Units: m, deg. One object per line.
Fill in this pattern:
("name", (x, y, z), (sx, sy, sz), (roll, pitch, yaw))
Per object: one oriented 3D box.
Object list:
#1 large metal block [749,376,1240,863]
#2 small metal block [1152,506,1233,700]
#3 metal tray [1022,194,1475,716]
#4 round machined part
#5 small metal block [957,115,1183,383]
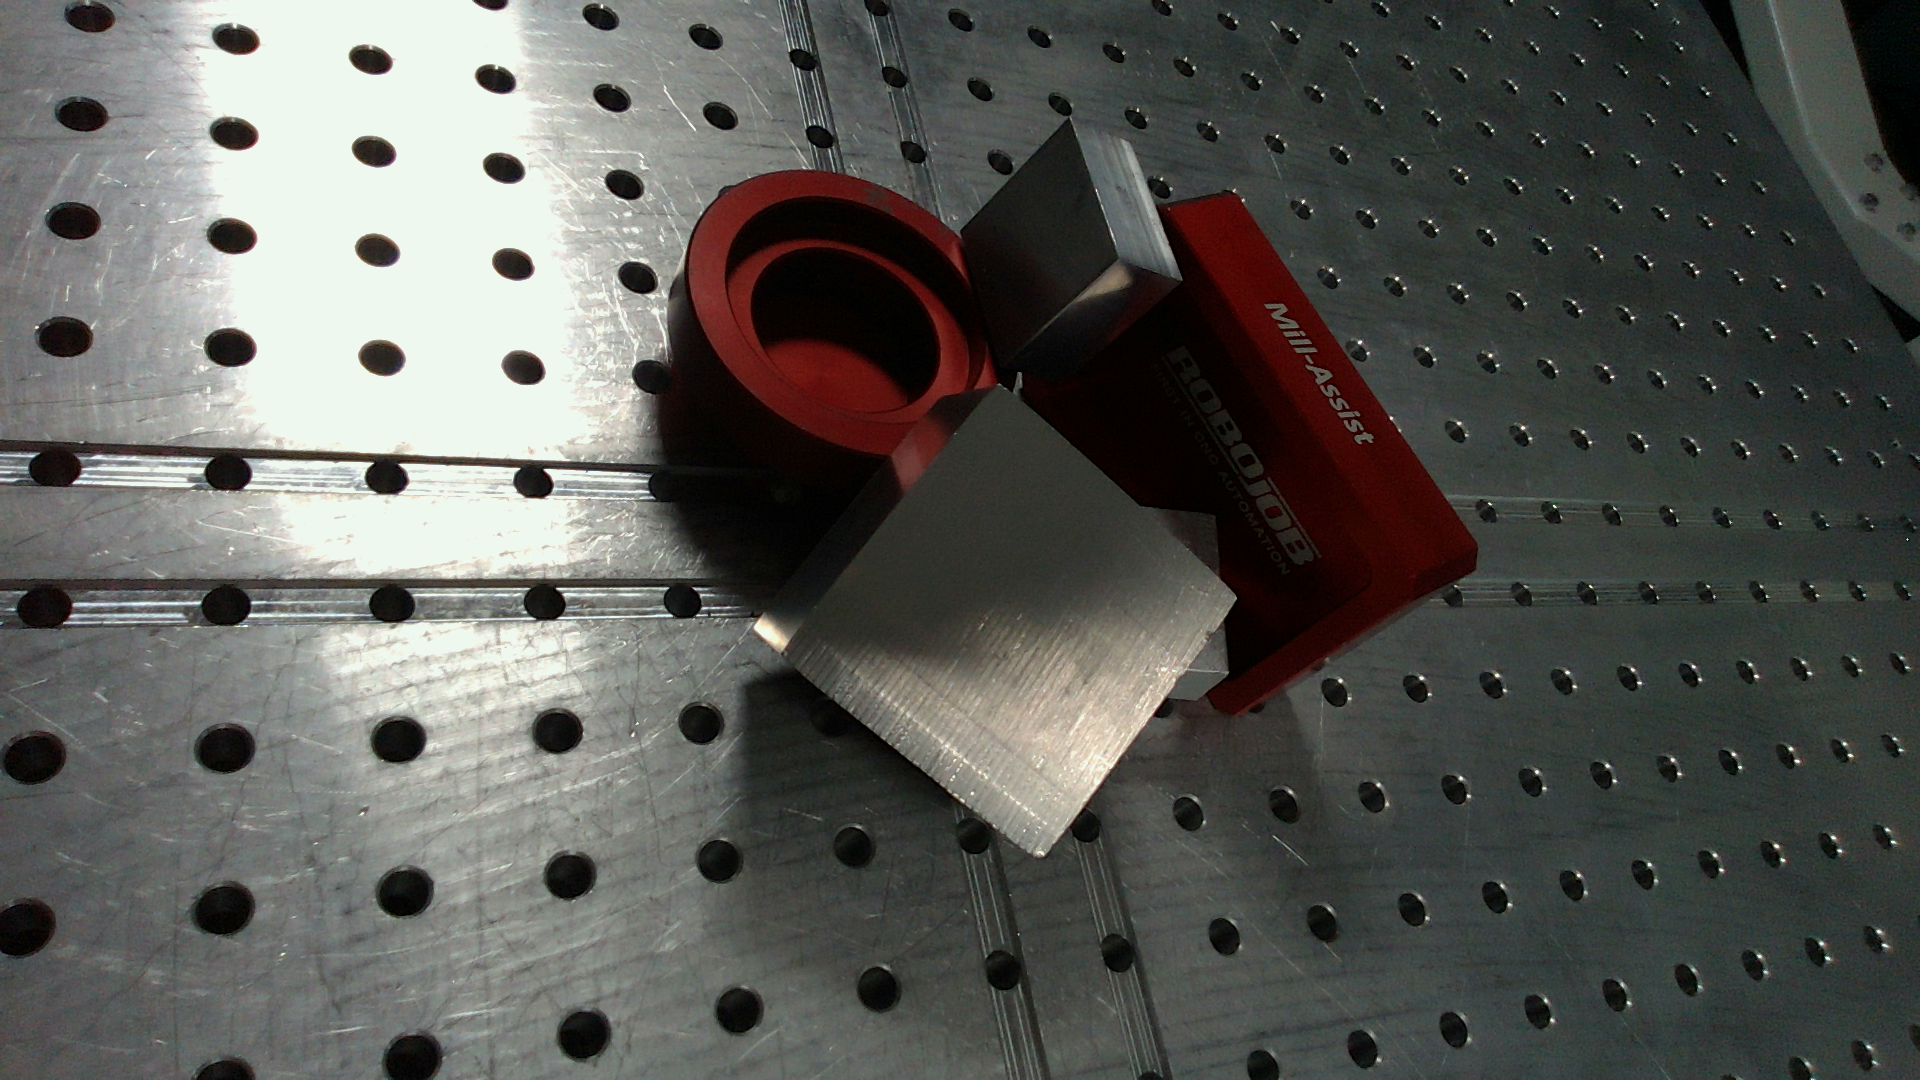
("large metal block", (0.007, 0.018, 0.340), (0.080, 0.050, 0.080), (40, 82, -14))
("small metal block", (0.049, 0.017, 0.402), (0.050, 0.025, 0.050), (5, 63, -13))
("metal tray", (0.079, -0.024, 0.408), (0.030, 0.090, 0.130), (-19, 72, -35))
("round machined part", (-0.036, -0.055, 0.396), (0.098, 0.042, 0.098), (14, 56, -21))
("small metal block", (0.030, -0.081, 0.390), (0.025, 0.050, 0.050), (9, 55, -40))
